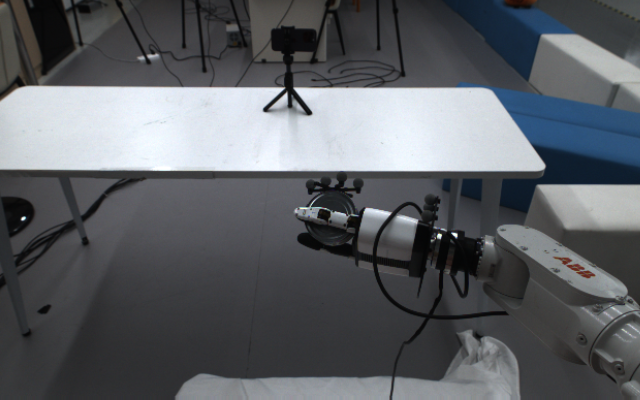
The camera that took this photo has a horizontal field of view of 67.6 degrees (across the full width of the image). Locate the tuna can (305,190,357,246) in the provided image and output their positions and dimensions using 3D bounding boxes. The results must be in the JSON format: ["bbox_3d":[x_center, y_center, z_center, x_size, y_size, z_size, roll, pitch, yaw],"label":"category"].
[{"bbox_3d":[0.020,0.030,0.774,0.085,0.034,0.085,-5,72,14],"label":"tuna can"}]
